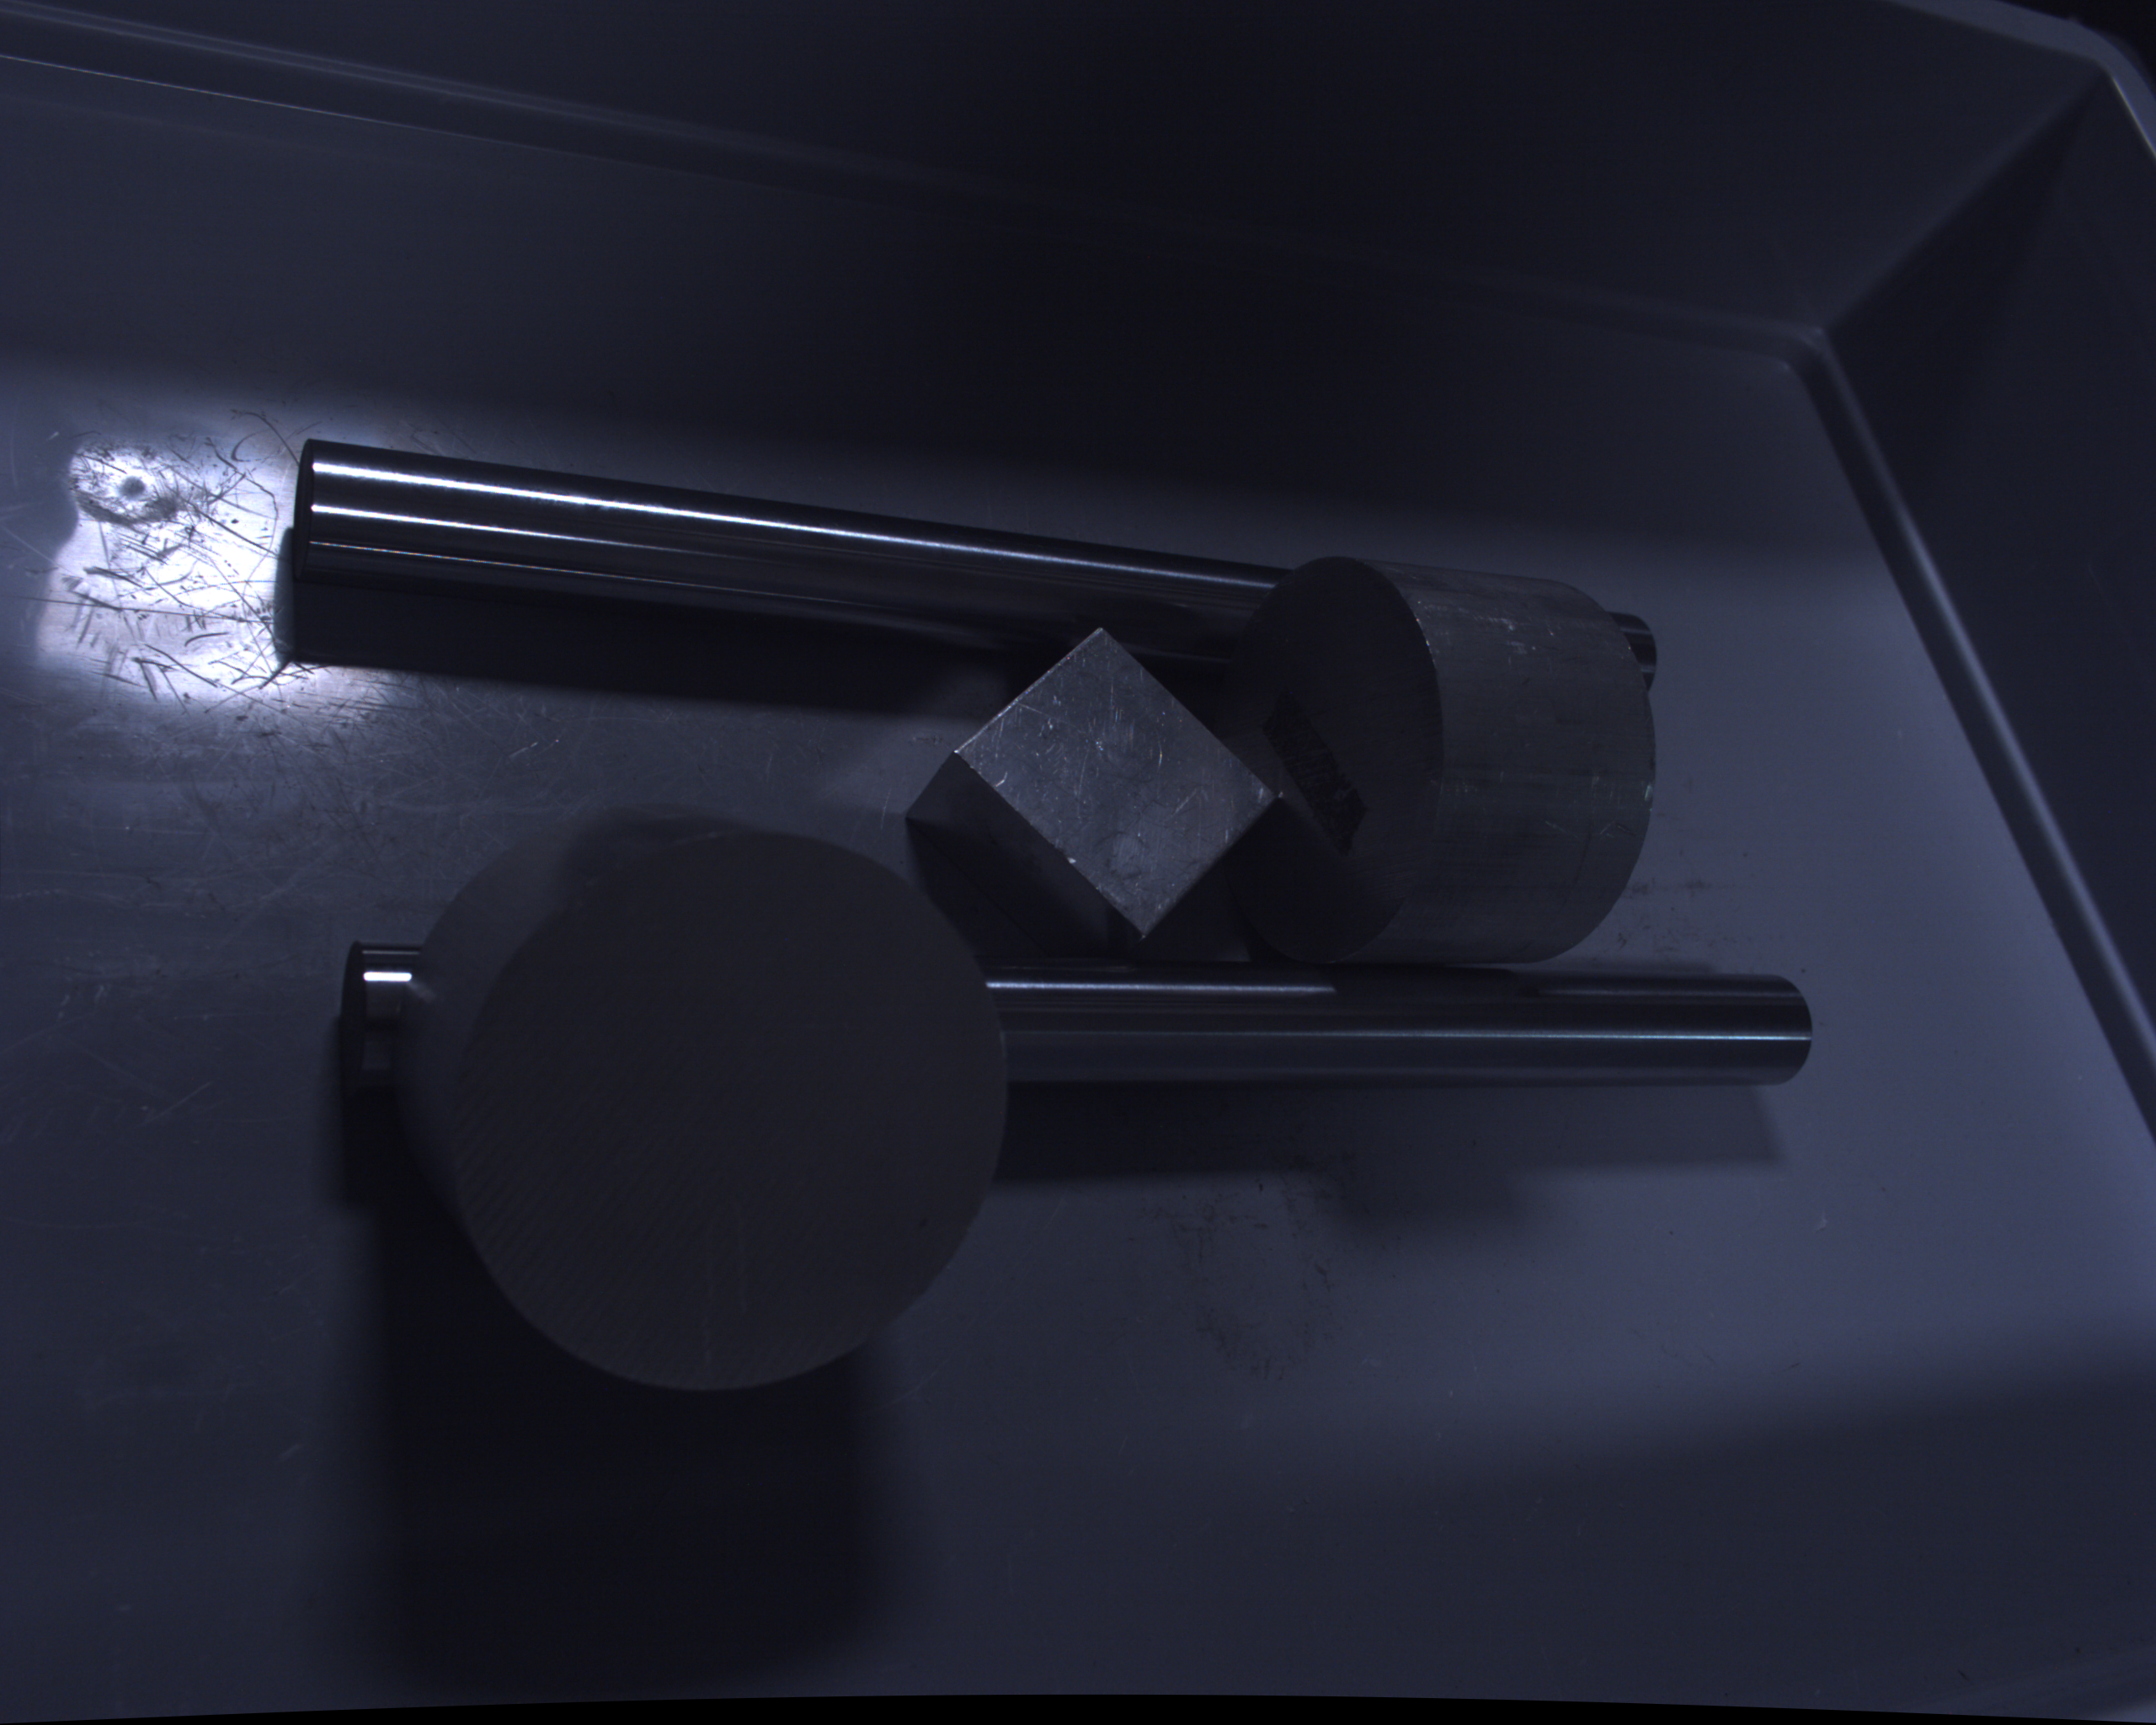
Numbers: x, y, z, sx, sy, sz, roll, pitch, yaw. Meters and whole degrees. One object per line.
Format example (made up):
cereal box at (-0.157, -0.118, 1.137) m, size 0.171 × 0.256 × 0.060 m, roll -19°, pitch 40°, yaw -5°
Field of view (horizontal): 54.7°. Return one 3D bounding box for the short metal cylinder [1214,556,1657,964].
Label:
short metal cylinder at (0.069, -0.019, 0.420) m, size 0.050 × 0.080 × 0.080 m, roll 2°, pitch 61°, yaw -28°

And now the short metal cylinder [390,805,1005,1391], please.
short metal cylinder at (-0.058, 0.033, 0.315) m, size 0.081 × 0.050 × 0.079 m, roll -3°, pitch 97°, yaw -27°

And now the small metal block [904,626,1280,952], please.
small metal block at (0.003, -0.011, 0.413) m, size 0.050 × 0.025 × 0.050 m, roll 44°, pitch 51°, yaw 2°

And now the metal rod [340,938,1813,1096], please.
metal rod at (0.020, 0.031, 0.397) m, size 0.303 × 0.025 × 0.025 m, roll 3°, pitch 61°, yaw -27°

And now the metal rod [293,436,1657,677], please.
metal rod at (-0.003, -0.055, 0.437) m, size 0.303 × 0.025 × 0.025 m, roll 3°, pitch 61°, yaw -27°
